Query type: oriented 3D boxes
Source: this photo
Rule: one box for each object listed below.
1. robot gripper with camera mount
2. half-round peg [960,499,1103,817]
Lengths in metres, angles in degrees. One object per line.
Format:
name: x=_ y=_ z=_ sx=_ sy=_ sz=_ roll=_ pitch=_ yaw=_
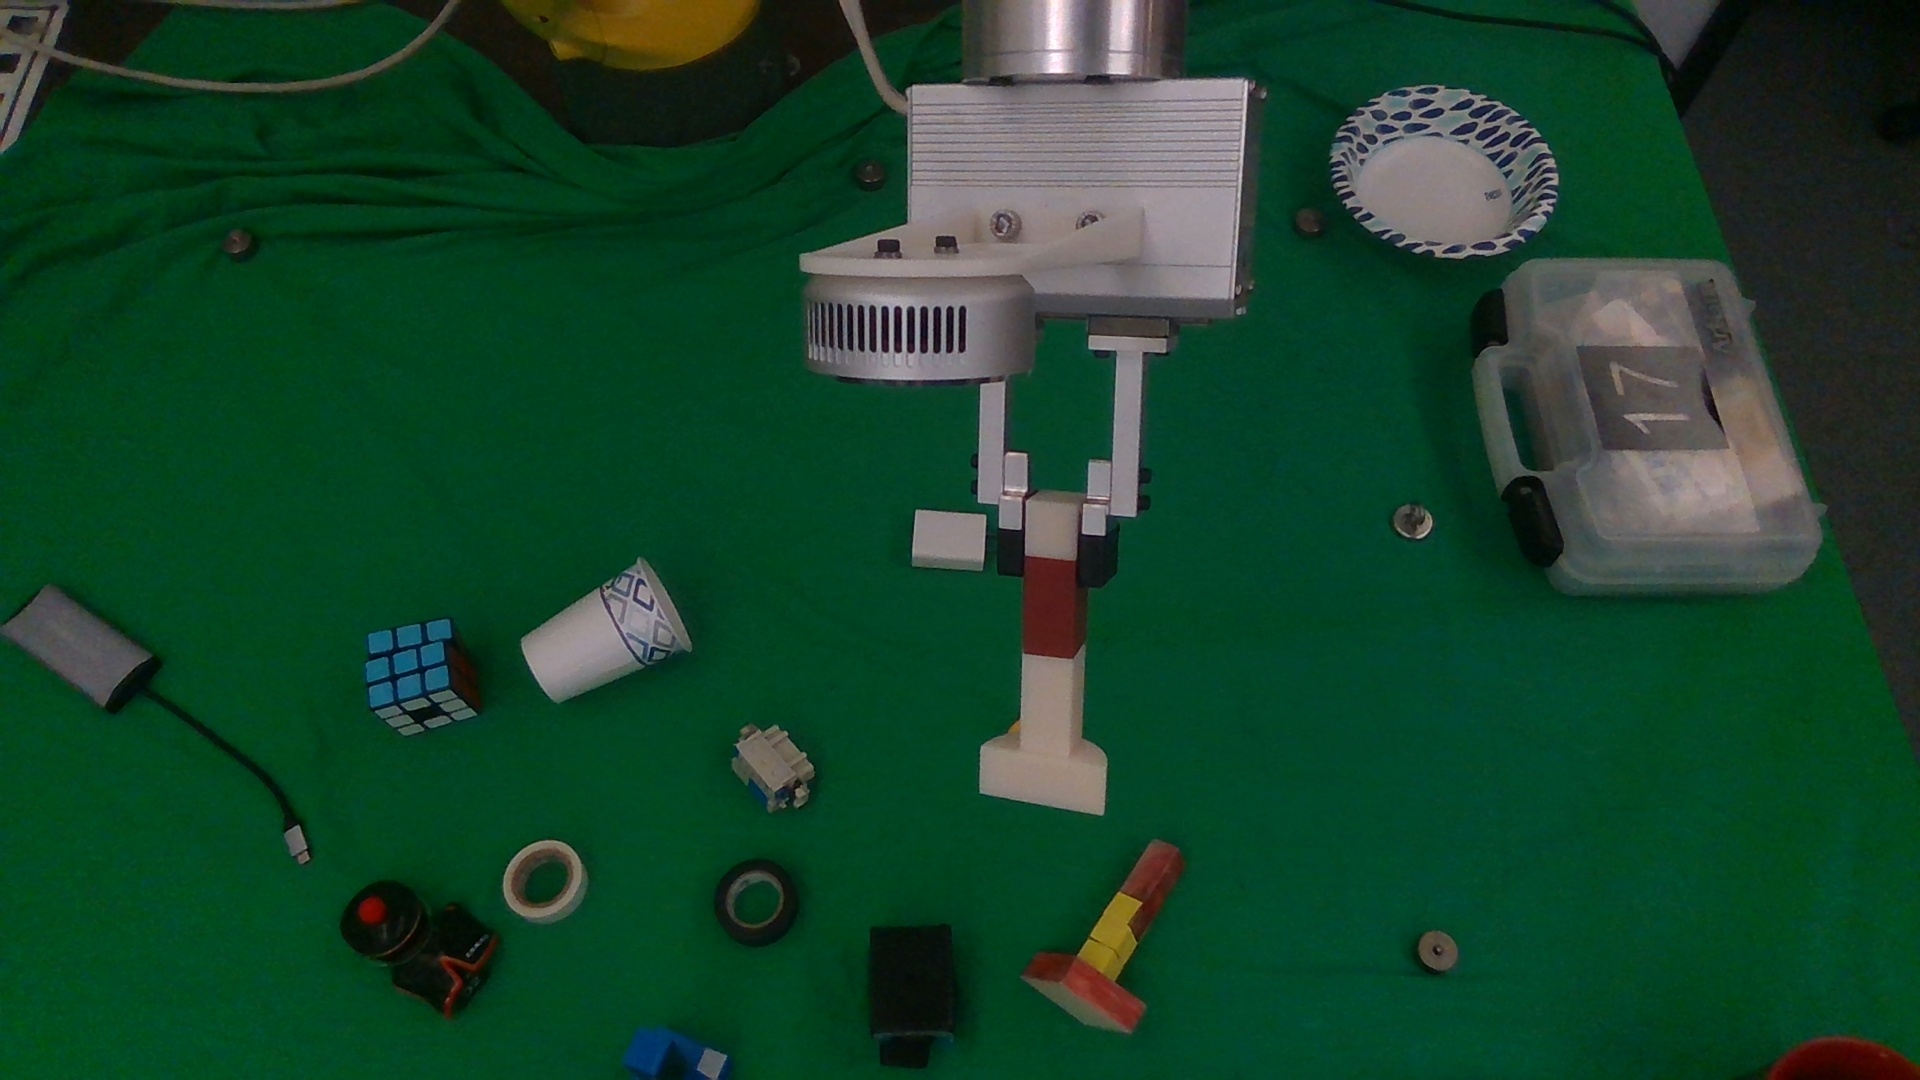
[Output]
robot gripper with camera mount: x=0.015 y=-0.047 z=0.437 sx=0.119 sy=0.193 sz=0.158 roll=8 pitch=106 yaw=20
half-round peg: x=0.028 y=0.045 z=0.525 sx=0.054 sy=0.122 sz=0.031 roll=3 pitch=19 yaw=10
